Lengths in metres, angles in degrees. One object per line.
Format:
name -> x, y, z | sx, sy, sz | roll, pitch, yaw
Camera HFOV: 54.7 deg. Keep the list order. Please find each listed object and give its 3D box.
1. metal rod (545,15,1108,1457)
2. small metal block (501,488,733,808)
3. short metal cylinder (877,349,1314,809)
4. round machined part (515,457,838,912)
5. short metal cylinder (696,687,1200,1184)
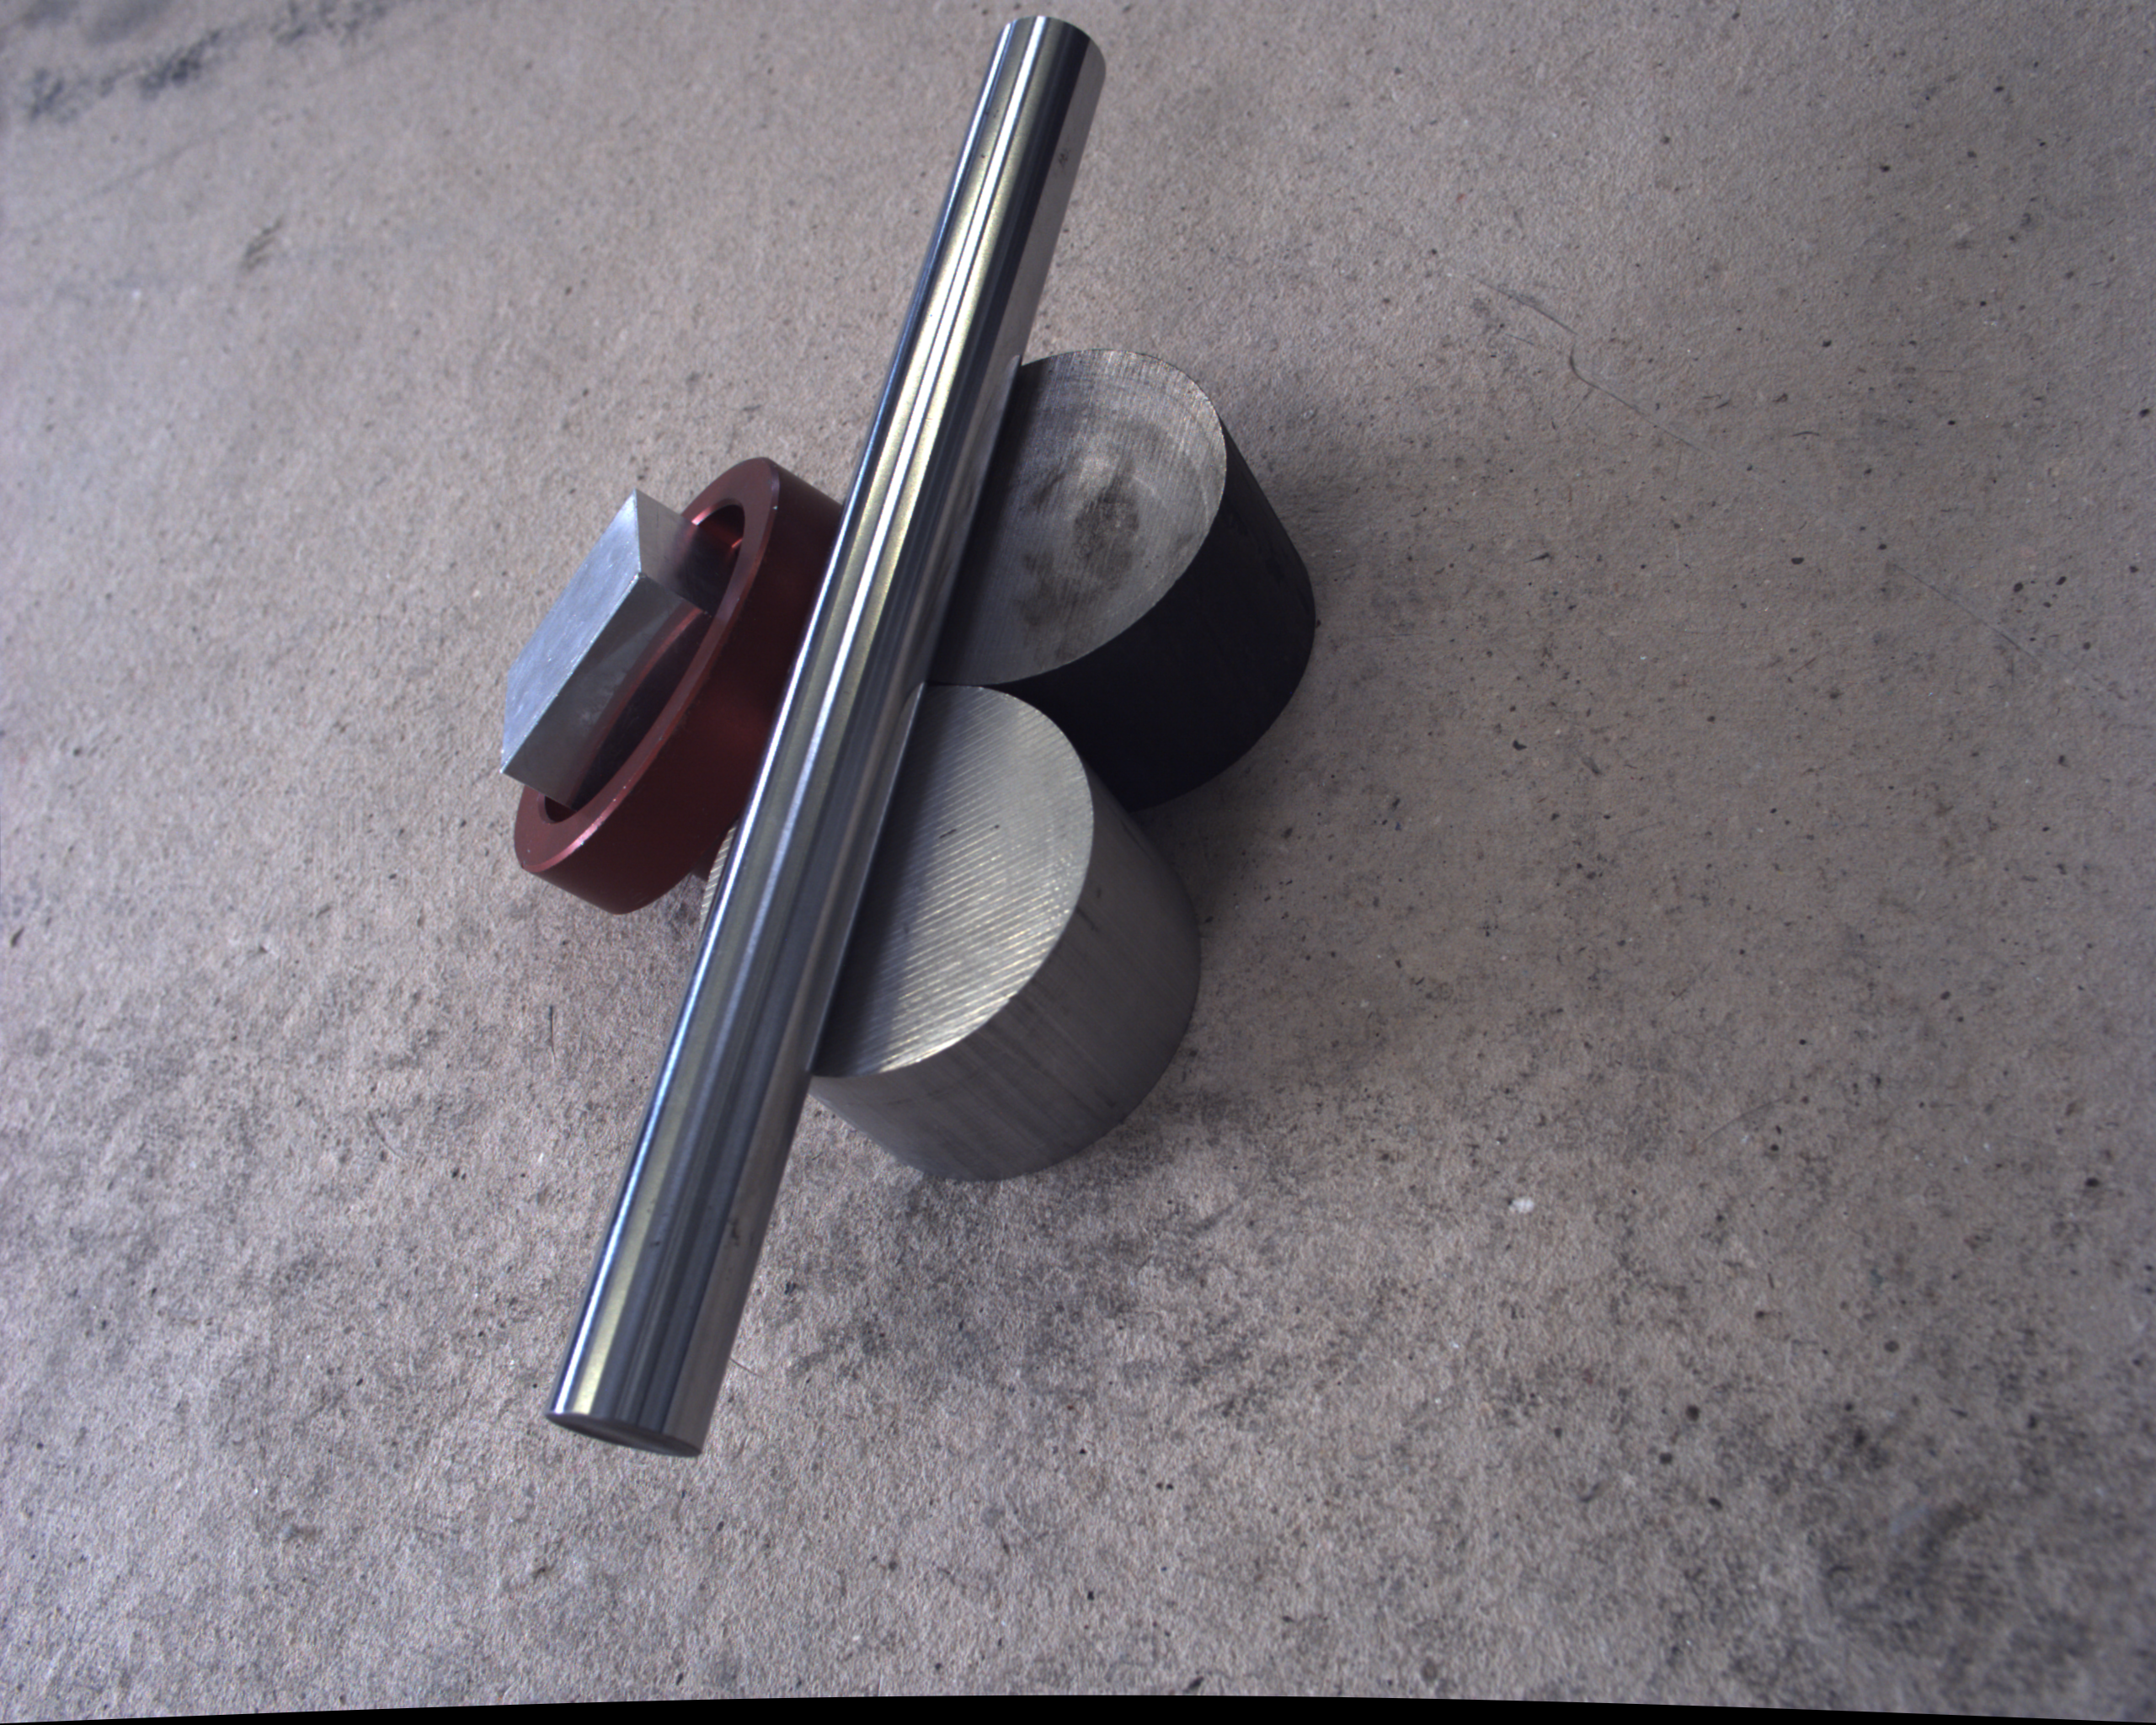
metal rod -> -0.038, -0.043, 0.388 | 0.025, 0.025, 0.300 | -1, 61, 28
small metal block -> -0.093, -0.042, 0.428 | 0.050, 0.025, 0.050 | -51, 27, 16
short metal cylinder -> 0.001, -0.057, 0.424 | 0.080, 0.050, 0.080 | -13, 56, 21
round machined part -> -0.074, -0.032, 0.437 | 0.098, 0.042, 0.098 | -42, 31, 33
short metal cylinder -> -0.024, 0.014, 0.393 | 0.080, 0.050, 0.080 | -13, 55, 20
